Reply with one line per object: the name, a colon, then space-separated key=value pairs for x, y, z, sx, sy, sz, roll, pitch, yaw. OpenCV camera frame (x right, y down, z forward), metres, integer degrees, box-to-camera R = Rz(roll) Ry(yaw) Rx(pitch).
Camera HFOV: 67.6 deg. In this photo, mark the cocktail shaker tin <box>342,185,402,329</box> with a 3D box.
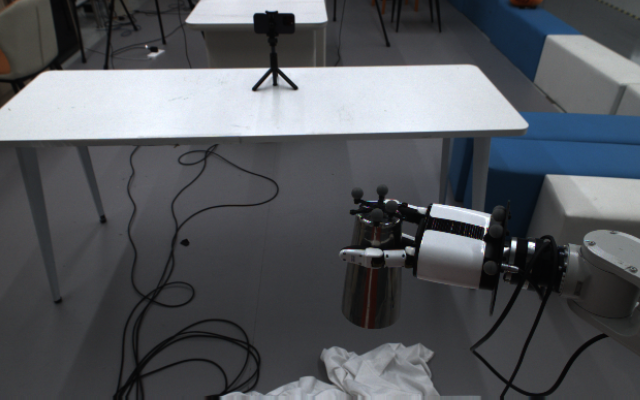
cocktail shaker tin: x=0.084 y=0.092 z=0.724 sx=0.093 sy=0.170 sz=0.093 roll=1 pitch=27 yaw=-1
